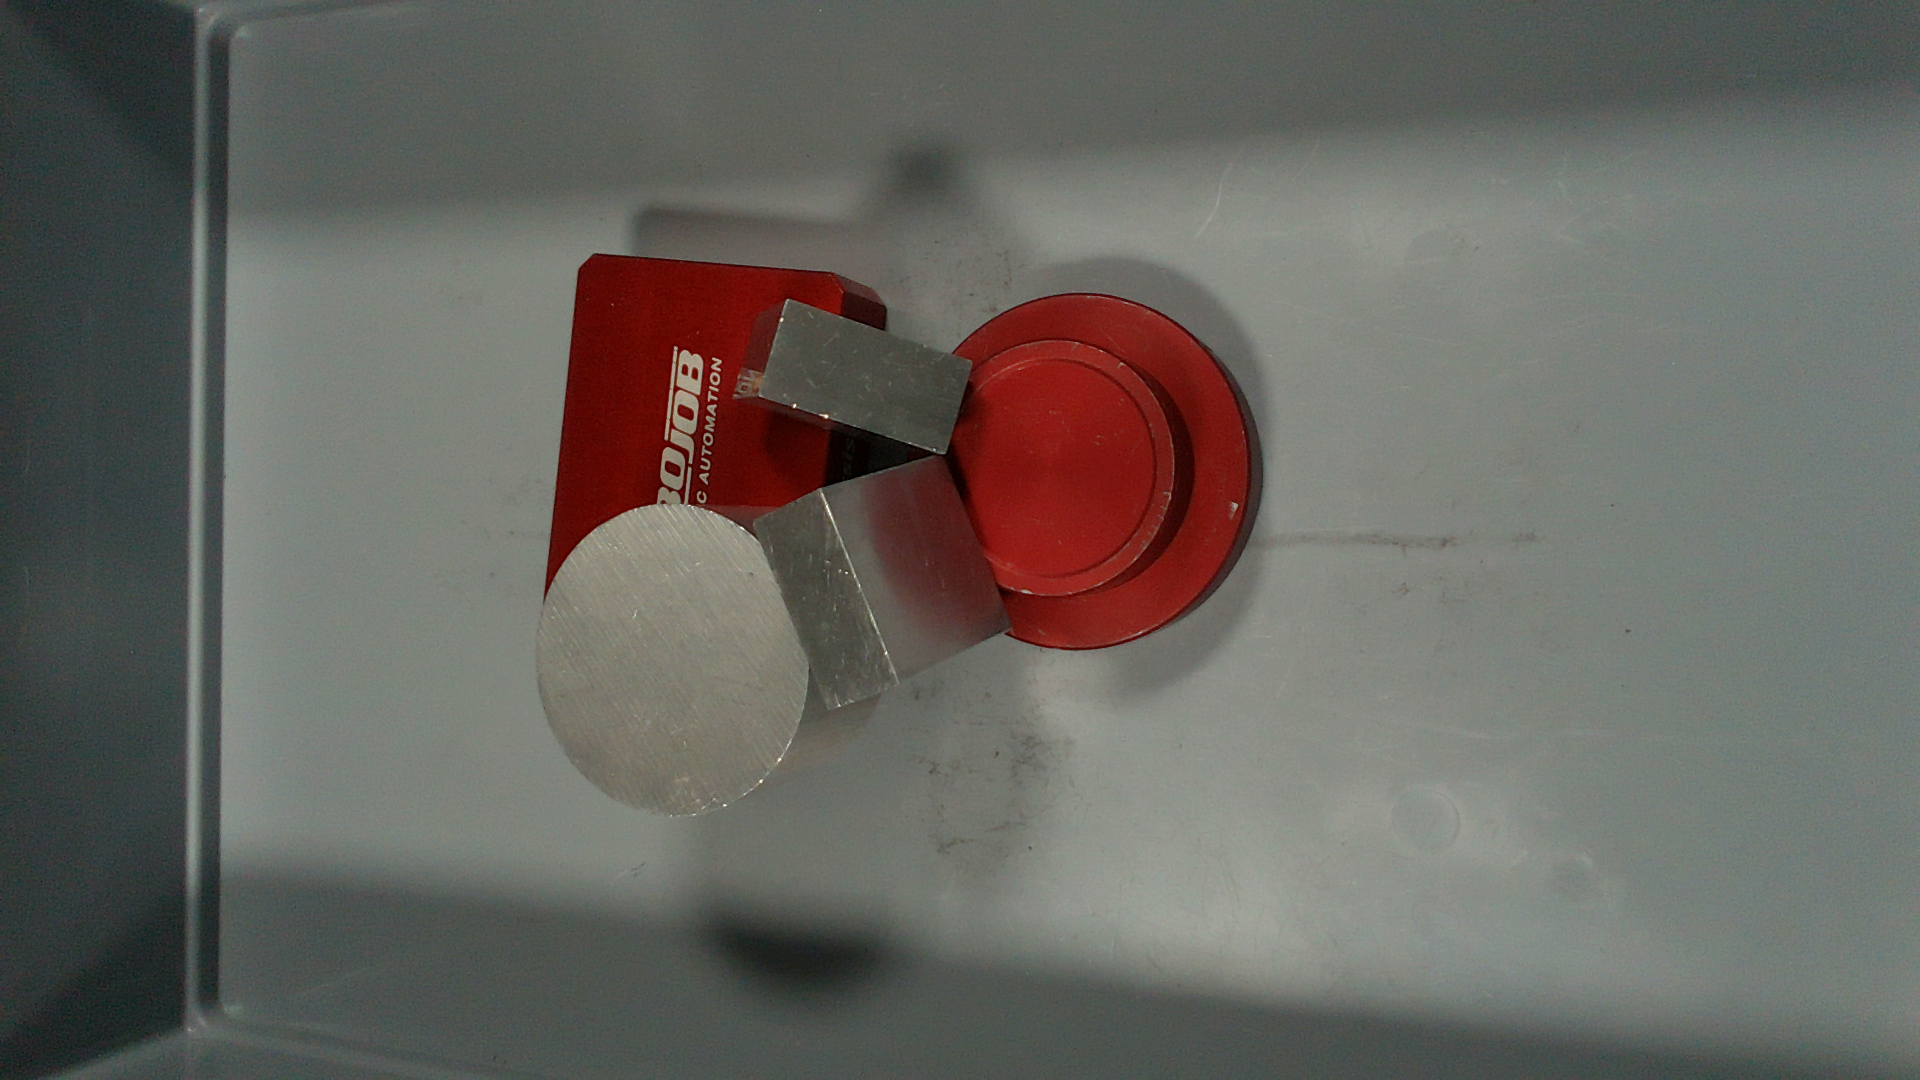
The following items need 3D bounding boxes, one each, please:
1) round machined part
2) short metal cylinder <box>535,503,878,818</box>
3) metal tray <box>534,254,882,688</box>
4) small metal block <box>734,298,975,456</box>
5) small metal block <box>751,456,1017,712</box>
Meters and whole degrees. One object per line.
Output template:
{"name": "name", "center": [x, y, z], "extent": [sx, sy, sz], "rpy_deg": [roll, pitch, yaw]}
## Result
{"name": "round machined part", "center": [0.030, -0.019, 0.374], "extent": [0.098, 0.042, 0.098], "rpy_deg": [0, 90, 20]}
{"name": "short metal cylinder", "center": [-0.066, 0.031, 0.373], "extent": [0.080, 0.050, 0.080], "rpy_deg": [0, 90, 20]}
{"name": "metal tray", "center": [-0.078, -0.016, 0.418], "extent": [0.090, 0.030, 0.130], "rpy_deg": [8, 93, 20]}
{"name": "small metal block", "center": [-0.030, -0.042, 0.365], "extent": [0.050, 0.050, 0.025], "rpy_deg": [16, 90, -17]}
{"name": "small metal block", "center": [-0.018, 0.009, 0.346], "extent": [0.025, 0.050, 0.050], "rpy_deg": [-23, 89, 37]}
